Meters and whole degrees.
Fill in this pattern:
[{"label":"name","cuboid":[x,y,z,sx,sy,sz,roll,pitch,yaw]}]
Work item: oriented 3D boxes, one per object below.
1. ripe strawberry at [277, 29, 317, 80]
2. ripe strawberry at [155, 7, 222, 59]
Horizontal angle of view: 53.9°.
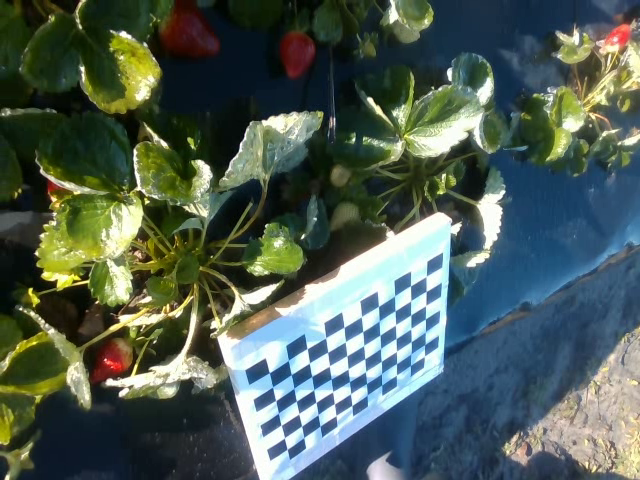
[{"label":"ripe strawberry","cuboid":[-0.019,-0.162,0.549,0.039,0.047,0.040,12,4,-44]},{"label":"ripe strawberry","cuboid":[-0.099,-0.163,0.498,0.056,0.044,0.040,27,4,-46]}]
